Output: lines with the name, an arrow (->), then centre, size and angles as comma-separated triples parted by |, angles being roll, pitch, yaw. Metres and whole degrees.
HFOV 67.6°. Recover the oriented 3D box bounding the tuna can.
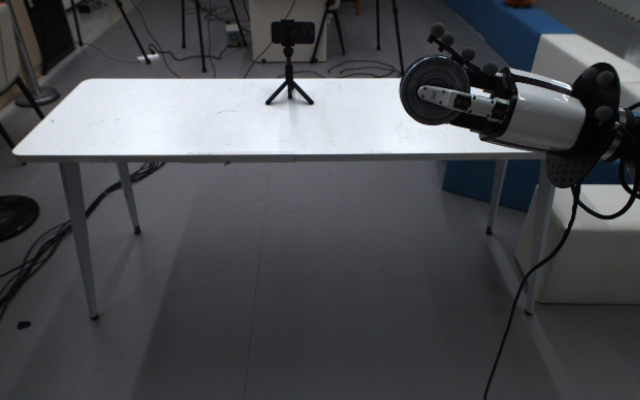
tuna can -> 0.147, -0.132, 0.607 | 0.085, 0.085, 0.034 | 7, 19, 7
